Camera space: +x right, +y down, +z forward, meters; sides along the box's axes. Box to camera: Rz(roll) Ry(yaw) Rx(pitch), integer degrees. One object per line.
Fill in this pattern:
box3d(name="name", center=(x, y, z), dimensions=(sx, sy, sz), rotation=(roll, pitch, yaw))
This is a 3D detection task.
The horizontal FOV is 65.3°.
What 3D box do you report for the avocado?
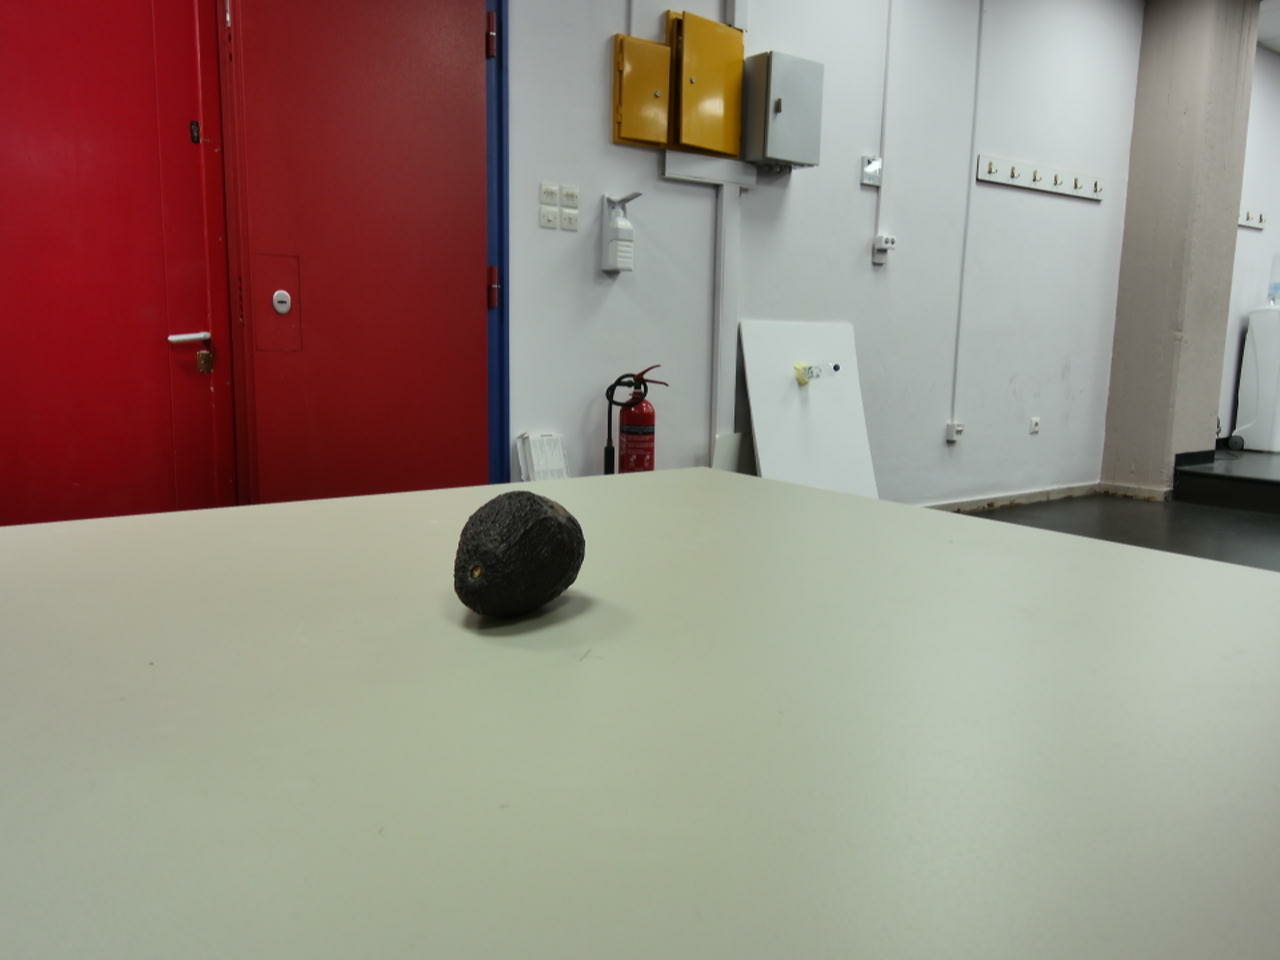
box3d(name="avocado", center=(-0.065, 0.038, 0.519), dimensions=(0.062, 0.062, 0.092), rotation=(4, 8, 29))
